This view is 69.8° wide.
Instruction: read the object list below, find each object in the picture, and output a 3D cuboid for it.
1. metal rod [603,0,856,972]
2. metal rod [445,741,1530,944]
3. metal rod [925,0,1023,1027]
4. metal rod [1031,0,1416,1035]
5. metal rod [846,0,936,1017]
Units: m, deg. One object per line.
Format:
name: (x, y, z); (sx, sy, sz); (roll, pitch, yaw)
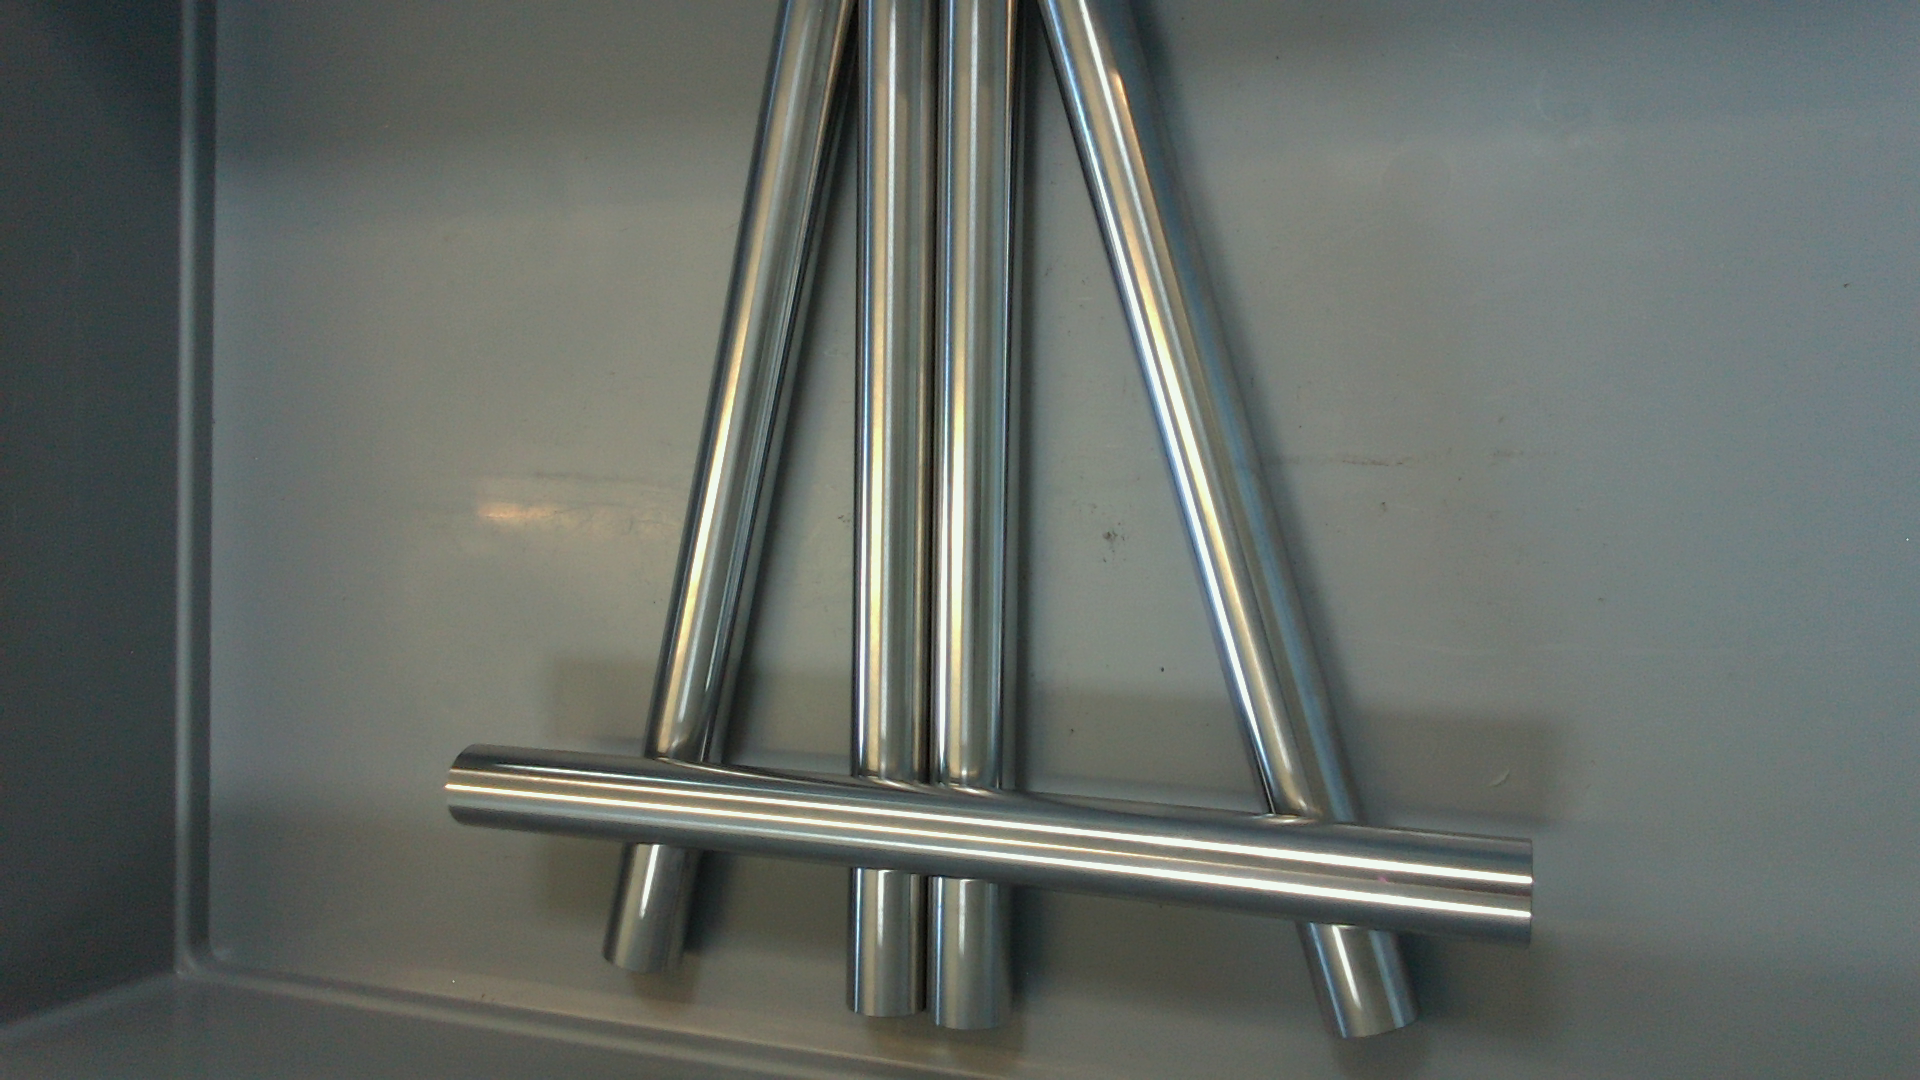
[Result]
metal rod: (-0.070, -0.017, 0.420); (0.025, 0.025, 0.300); (13, 94, 20)
metal rod: (-0.009, 0.077, 0.371); (0.299, 0.025, 0.025); (1, 91, 20)
metal rod: (0.004, -0.015, 0.394); (0.025, 0.025, 0.300); (1, 90, 20)
metal rod: (0.067, -0.020, 0.371); (0.025, 0.025, 0.300); (-17, 84, 19)
metal rod: (-0.019, -0.015, 0.402); (0.025, 0.025, 0.300); (1, 90, 20)
